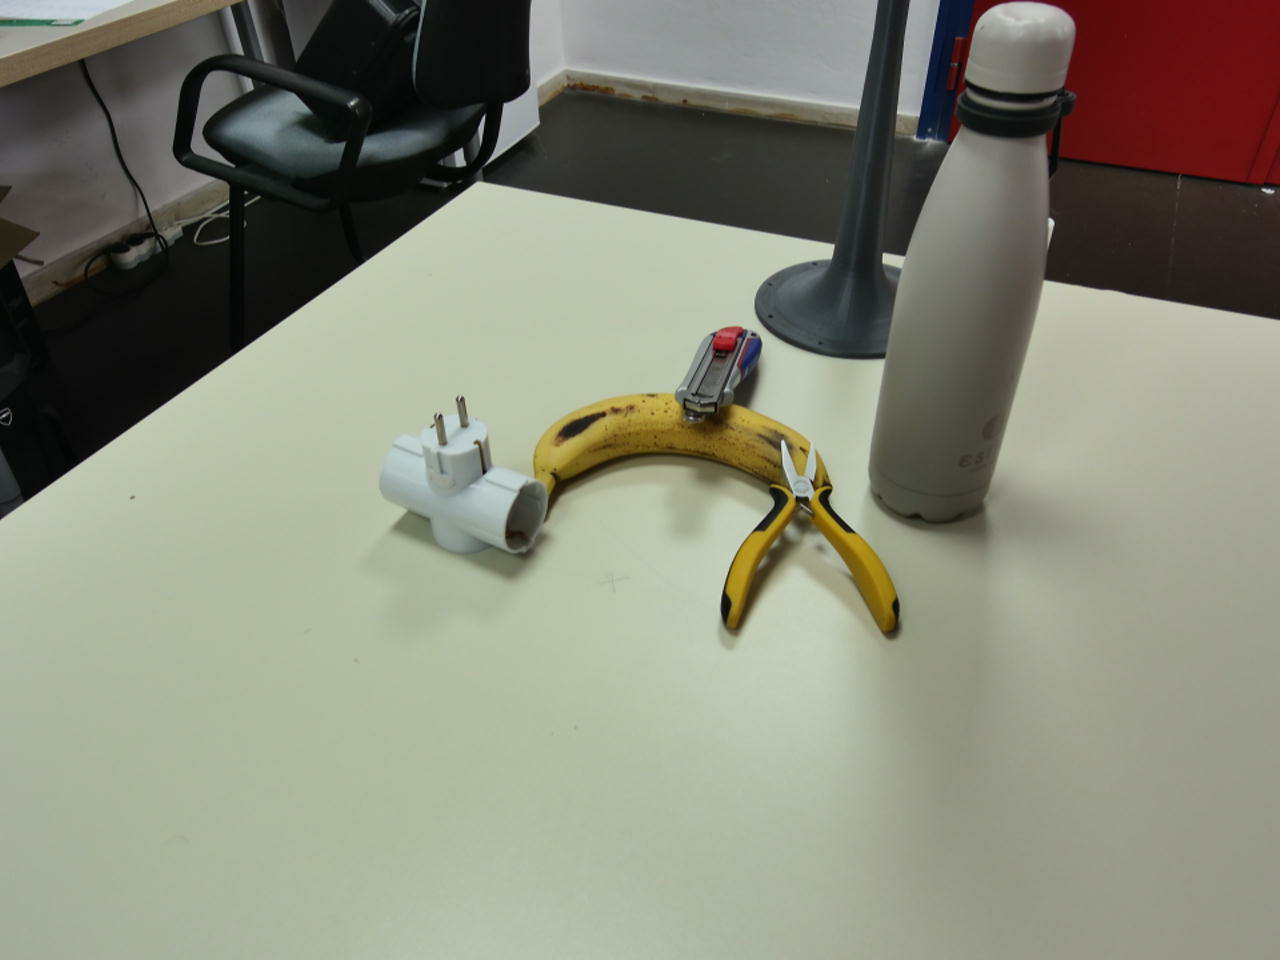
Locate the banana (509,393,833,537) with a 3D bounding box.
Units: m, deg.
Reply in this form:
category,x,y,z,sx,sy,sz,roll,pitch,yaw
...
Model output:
category,x,y,z,sx,sy,sz,roll,pitch,yaw
banana,0.018,-0.017,0.614,0.186,0.038,0.097,-3,38,-2
